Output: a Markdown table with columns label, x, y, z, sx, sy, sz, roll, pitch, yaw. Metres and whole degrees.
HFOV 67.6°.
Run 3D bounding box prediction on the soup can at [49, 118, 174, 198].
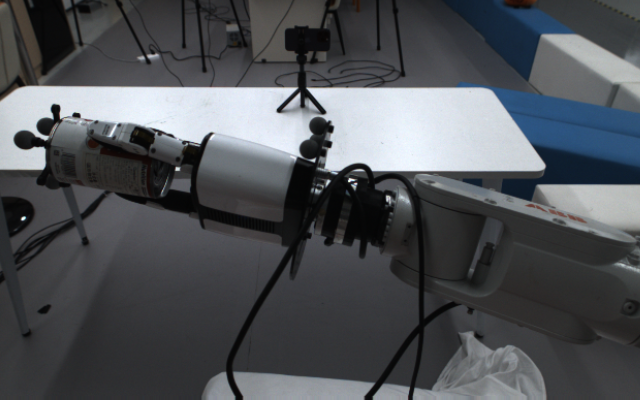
| label | x | y | z | sx | sy | sz | roll | pitch | yaw |
| --- | --- | --- | --- | --- | --- | --- | --- | --- | --- |
| soup can | -0.200 | -0.040 | 0.479 | 0.101 | 0.067 | 0.067 | 10 | 35 | -1 |
